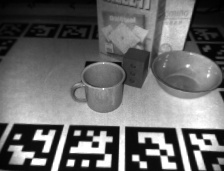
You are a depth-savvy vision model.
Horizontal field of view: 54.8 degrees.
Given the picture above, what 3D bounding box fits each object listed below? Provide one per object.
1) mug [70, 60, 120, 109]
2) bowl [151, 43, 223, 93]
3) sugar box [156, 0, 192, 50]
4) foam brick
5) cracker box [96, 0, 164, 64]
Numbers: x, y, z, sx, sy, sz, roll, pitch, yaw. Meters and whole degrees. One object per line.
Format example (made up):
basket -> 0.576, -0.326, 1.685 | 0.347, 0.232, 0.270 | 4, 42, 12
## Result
mug -> -0.039, -0.002, 0.462 | 0.117, 0.082, 0.092 | -5, 35, -3
bowl -> 0.169, -0.033, 0.504 | 0.161, 0.055, 0.161 | 0, 44, 0
sugar box -> 0.151, -0.170, 0.576 | 0.092, 0.177, 0.045 | 16, 46, 18
foam brick -> 0.049, -0.056, 0.534 | 0.052, 0.078, 0.051 | 12, 44, 15
cracker box -> 0.039, -0.178, 0.558 | 0.162, 0.214, 0.072 | 24, 47, 23
